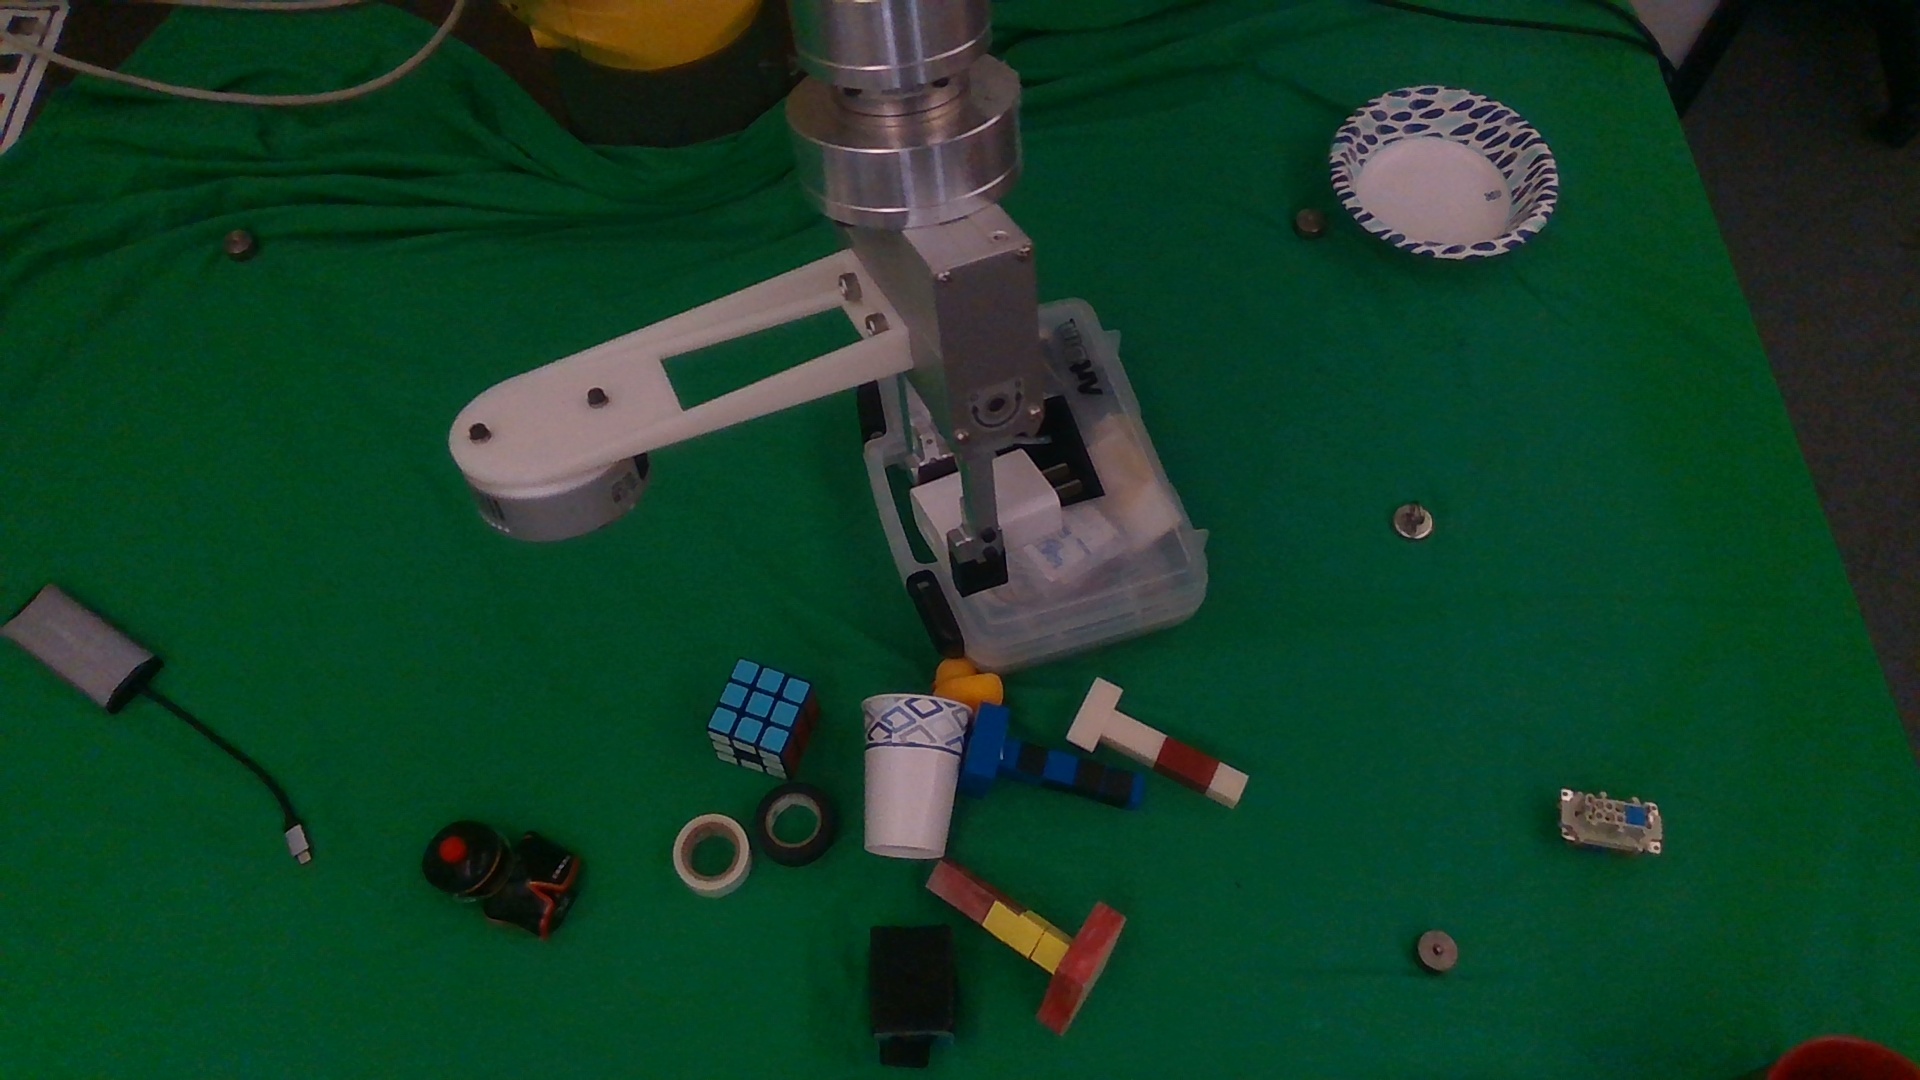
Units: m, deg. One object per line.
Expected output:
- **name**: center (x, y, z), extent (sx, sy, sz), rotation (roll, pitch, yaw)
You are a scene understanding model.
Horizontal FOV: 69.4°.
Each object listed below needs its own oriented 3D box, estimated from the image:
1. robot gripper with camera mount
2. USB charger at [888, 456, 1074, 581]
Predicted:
- **robot gripper with camera mount**: center (-0.079, -0.023, 0.508), extent (0.193, 0.158, 0.119), rotation (-20, 46, -17)
- **USB charger**: center (0.012, -0.013, 0.592), extent (0.075, 0.029, 0.045), rotation (-21, 45, -16)
